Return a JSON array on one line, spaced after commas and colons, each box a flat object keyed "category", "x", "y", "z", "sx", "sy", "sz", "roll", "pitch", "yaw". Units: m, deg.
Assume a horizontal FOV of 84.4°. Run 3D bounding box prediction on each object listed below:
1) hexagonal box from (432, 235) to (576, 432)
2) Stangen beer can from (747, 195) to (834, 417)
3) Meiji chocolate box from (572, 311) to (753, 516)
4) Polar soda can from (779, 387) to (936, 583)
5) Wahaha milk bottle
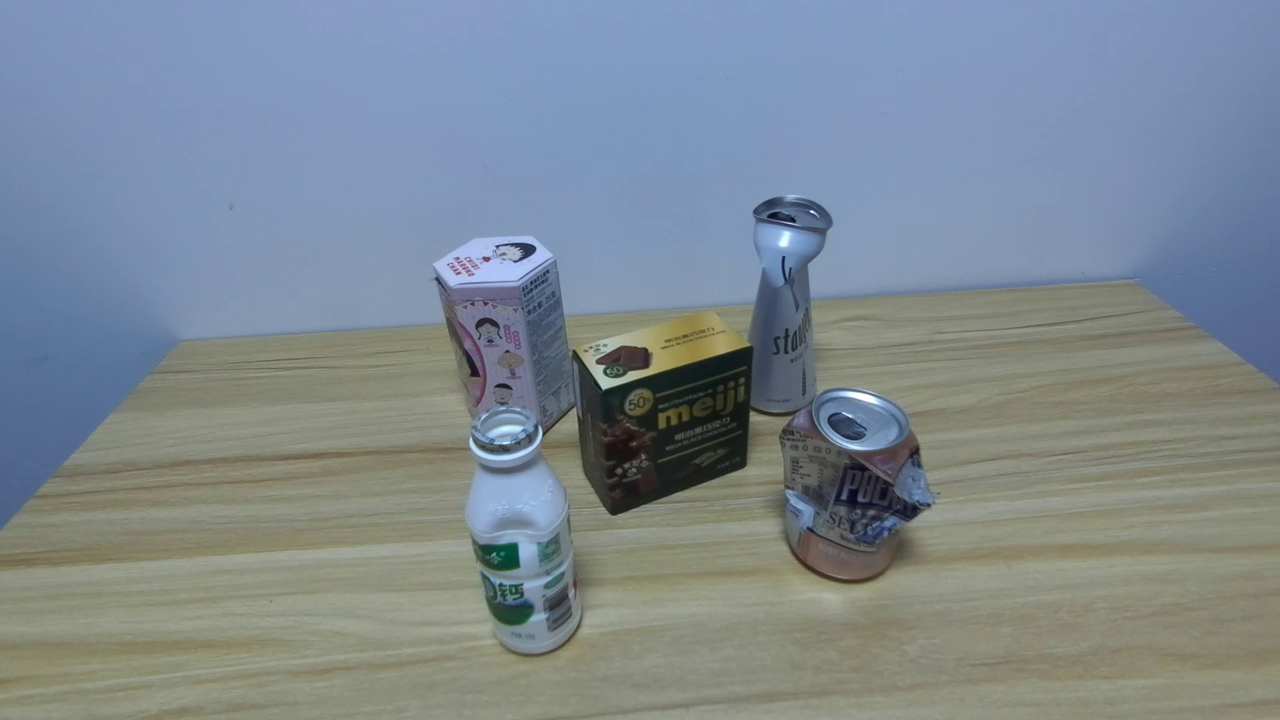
[{"category": "hexagonal box", "x": -0.102, "y": -0.016, "z": 0.546, "sx": 0.084, "sy": 0.136, "sz": 0.091, "roll": -19, "pitch": 37, "yaw": -24}, {"category": "Stangen beer can", "x": 0.108, "y": -0.037, "z": 0.534, "sx": 0.066, "sy": 0.162, "sz": 0.077, "roll": -12, "pitch": 34, "yaw": -15}, {"category": "Meiji chocolate box", "x": 0.017, "y": 0.036, "z": 0.482, "sx": 0.110, "sy": 0.109, "sz": 0.056, "roll": -16, "pitch": 36, "yaw": -19}, {"category": "Polar soda can", "x": 0.124, "y": 0.074, "z": 0.414, "sx": 0.074, "sy": 0.114, "sz": 0.070, "roll": -11, "pitch": 40, "yaw": -6}, {"category": "Wahaha milk bottle", "x": -0.061, "y": 0.097, "z": 0.374, "sx": 0.053, "sy": 0.137, "sz": 0.053, "roll": -1, "pitch": 33, "yaw": 1}]
